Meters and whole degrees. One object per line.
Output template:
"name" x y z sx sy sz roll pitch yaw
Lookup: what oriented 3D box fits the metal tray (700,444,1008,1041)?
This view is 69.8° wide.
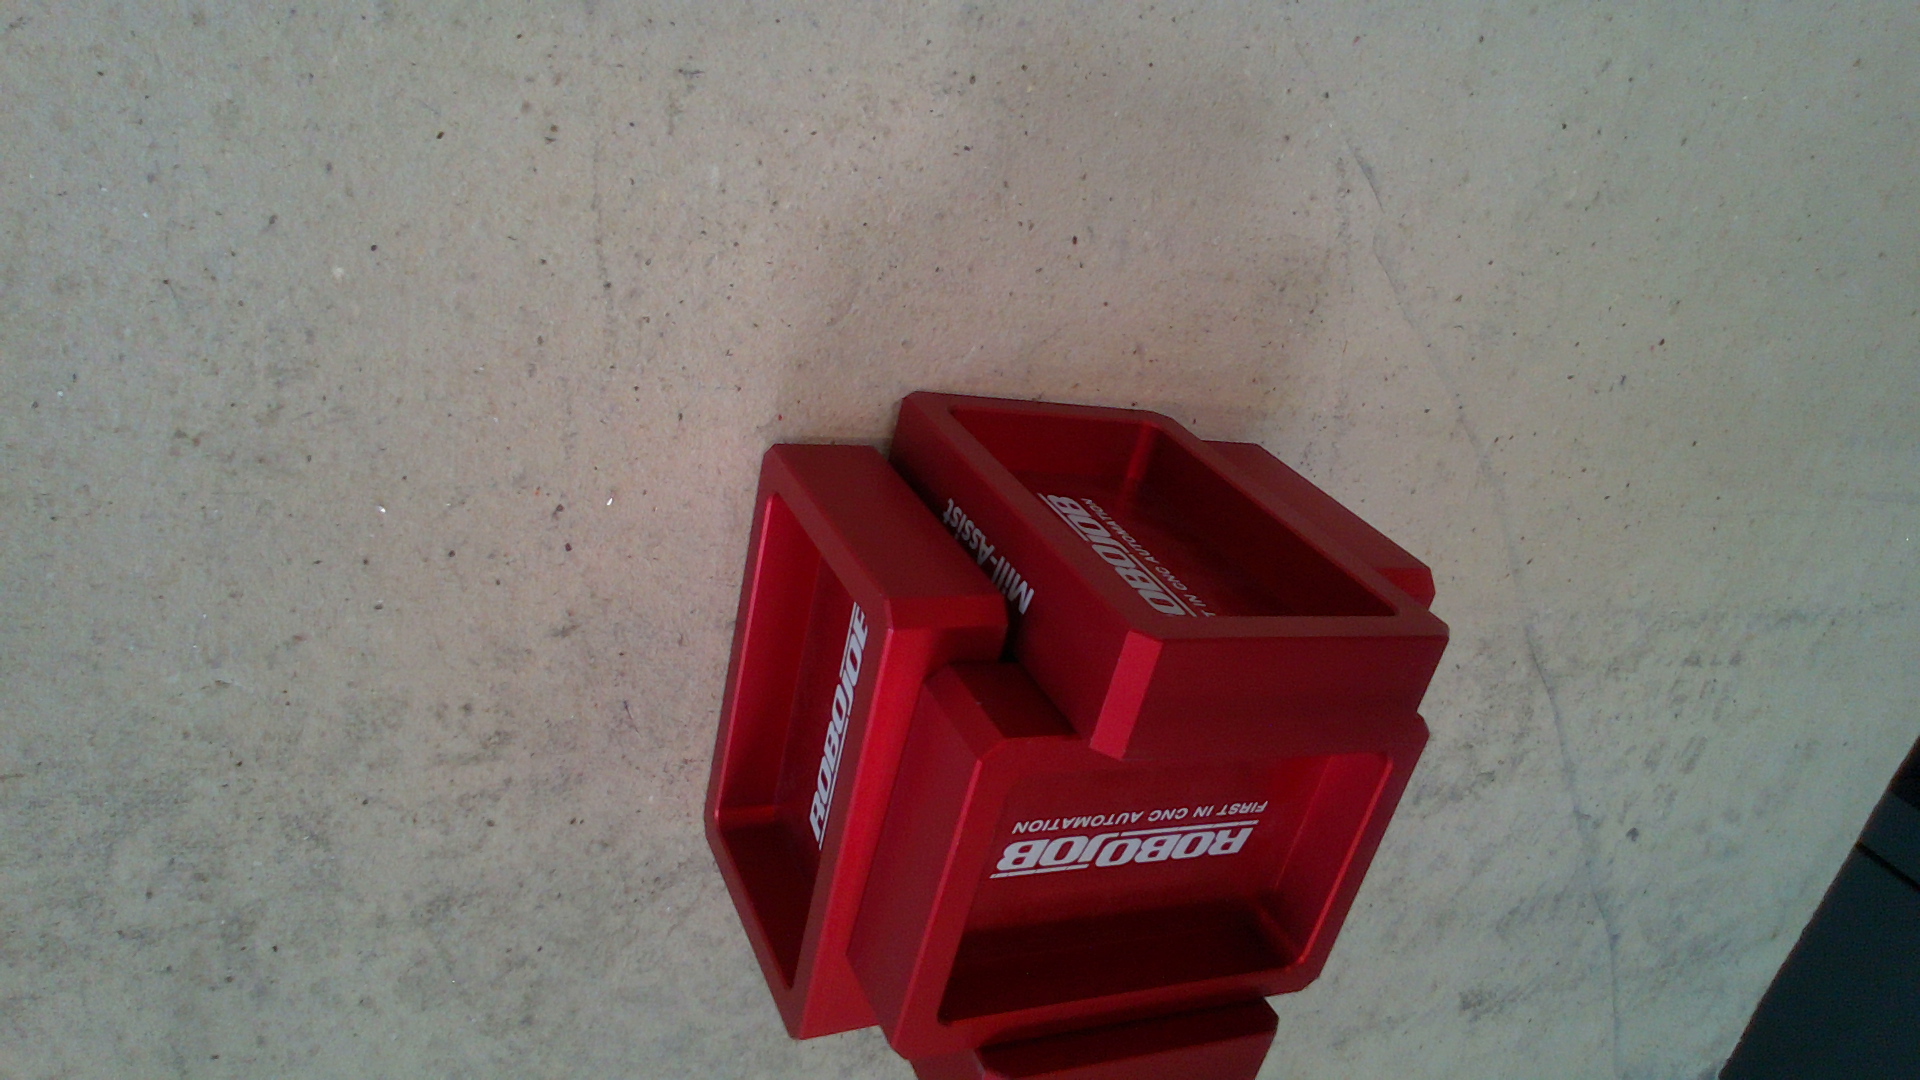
"metal tray" -0.034 0.051 0.360 0.030 0.090 0.130 -1 119 -28

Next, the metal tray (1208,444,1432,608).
"metal tray" 0.081 0.046 0.419 0.030 0.090 0.130 2 116 -28

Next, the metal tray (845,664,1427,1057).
"metal tray" 0.045 0.075 0.341 0.130 0.030 0.090 1 118 -29

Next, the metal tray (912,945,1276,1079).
"metal tray" 0.017 0.109 0.398 0.090 0.130 0.030 1 118 -29

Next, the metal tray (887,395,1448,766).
"metal tray" 0.045 0.004 0.348 0.090 0.130 0.030 2 118 -29
